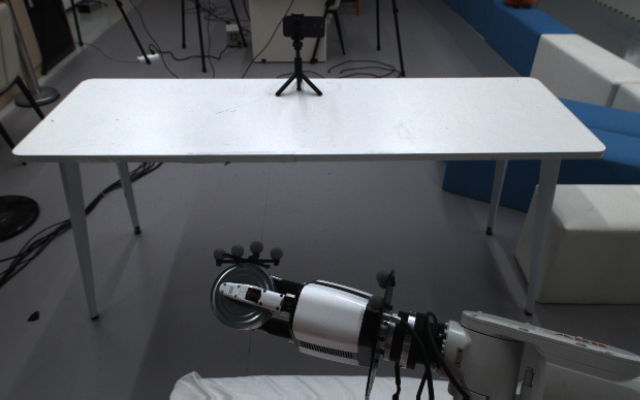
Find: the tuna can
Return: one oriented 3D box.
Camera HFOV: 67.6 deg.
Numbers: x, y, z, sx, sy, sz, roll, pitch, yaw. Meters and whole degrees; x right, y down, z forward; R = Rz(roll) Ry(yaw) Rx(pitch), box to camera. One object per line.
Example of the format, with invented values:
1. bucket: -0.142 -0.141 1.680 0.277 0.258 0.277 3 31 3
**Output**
1. tuna can: -0.098 0.133 0.640 0.085 0.034 0.085 -2 69 6
